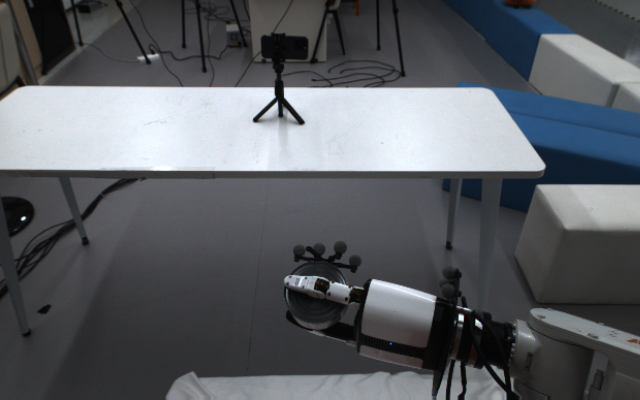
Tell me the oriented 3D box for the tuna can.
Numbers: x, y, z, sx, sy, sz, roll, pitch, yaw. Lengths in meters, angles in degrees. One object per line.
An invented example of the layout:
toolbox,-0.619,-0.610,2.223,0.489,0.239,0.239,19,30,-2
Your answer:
tuna can,-0.003,0.124,0.640,0.085,0.034,0.085,-2,56,4
